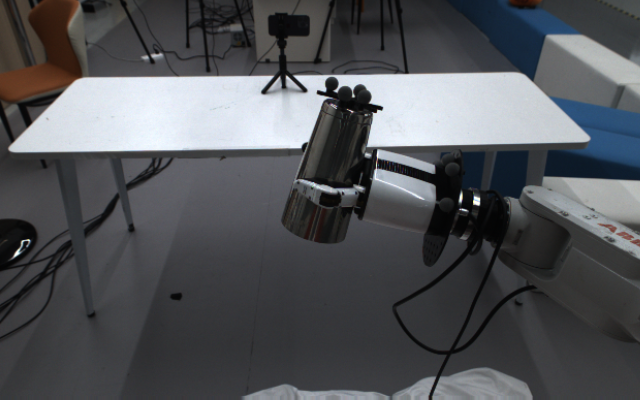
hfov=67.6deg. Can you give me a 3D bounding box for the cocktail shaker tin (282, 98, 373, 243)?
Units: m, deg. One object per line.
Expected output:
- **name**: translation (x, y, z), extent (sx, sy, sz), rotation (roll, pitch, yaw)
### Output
- **cocktail shaker tin**: translation (0.015, -0.040, 0.634), extent (0.093, 0.170, 0.093), rotation (15, 20, -5)
